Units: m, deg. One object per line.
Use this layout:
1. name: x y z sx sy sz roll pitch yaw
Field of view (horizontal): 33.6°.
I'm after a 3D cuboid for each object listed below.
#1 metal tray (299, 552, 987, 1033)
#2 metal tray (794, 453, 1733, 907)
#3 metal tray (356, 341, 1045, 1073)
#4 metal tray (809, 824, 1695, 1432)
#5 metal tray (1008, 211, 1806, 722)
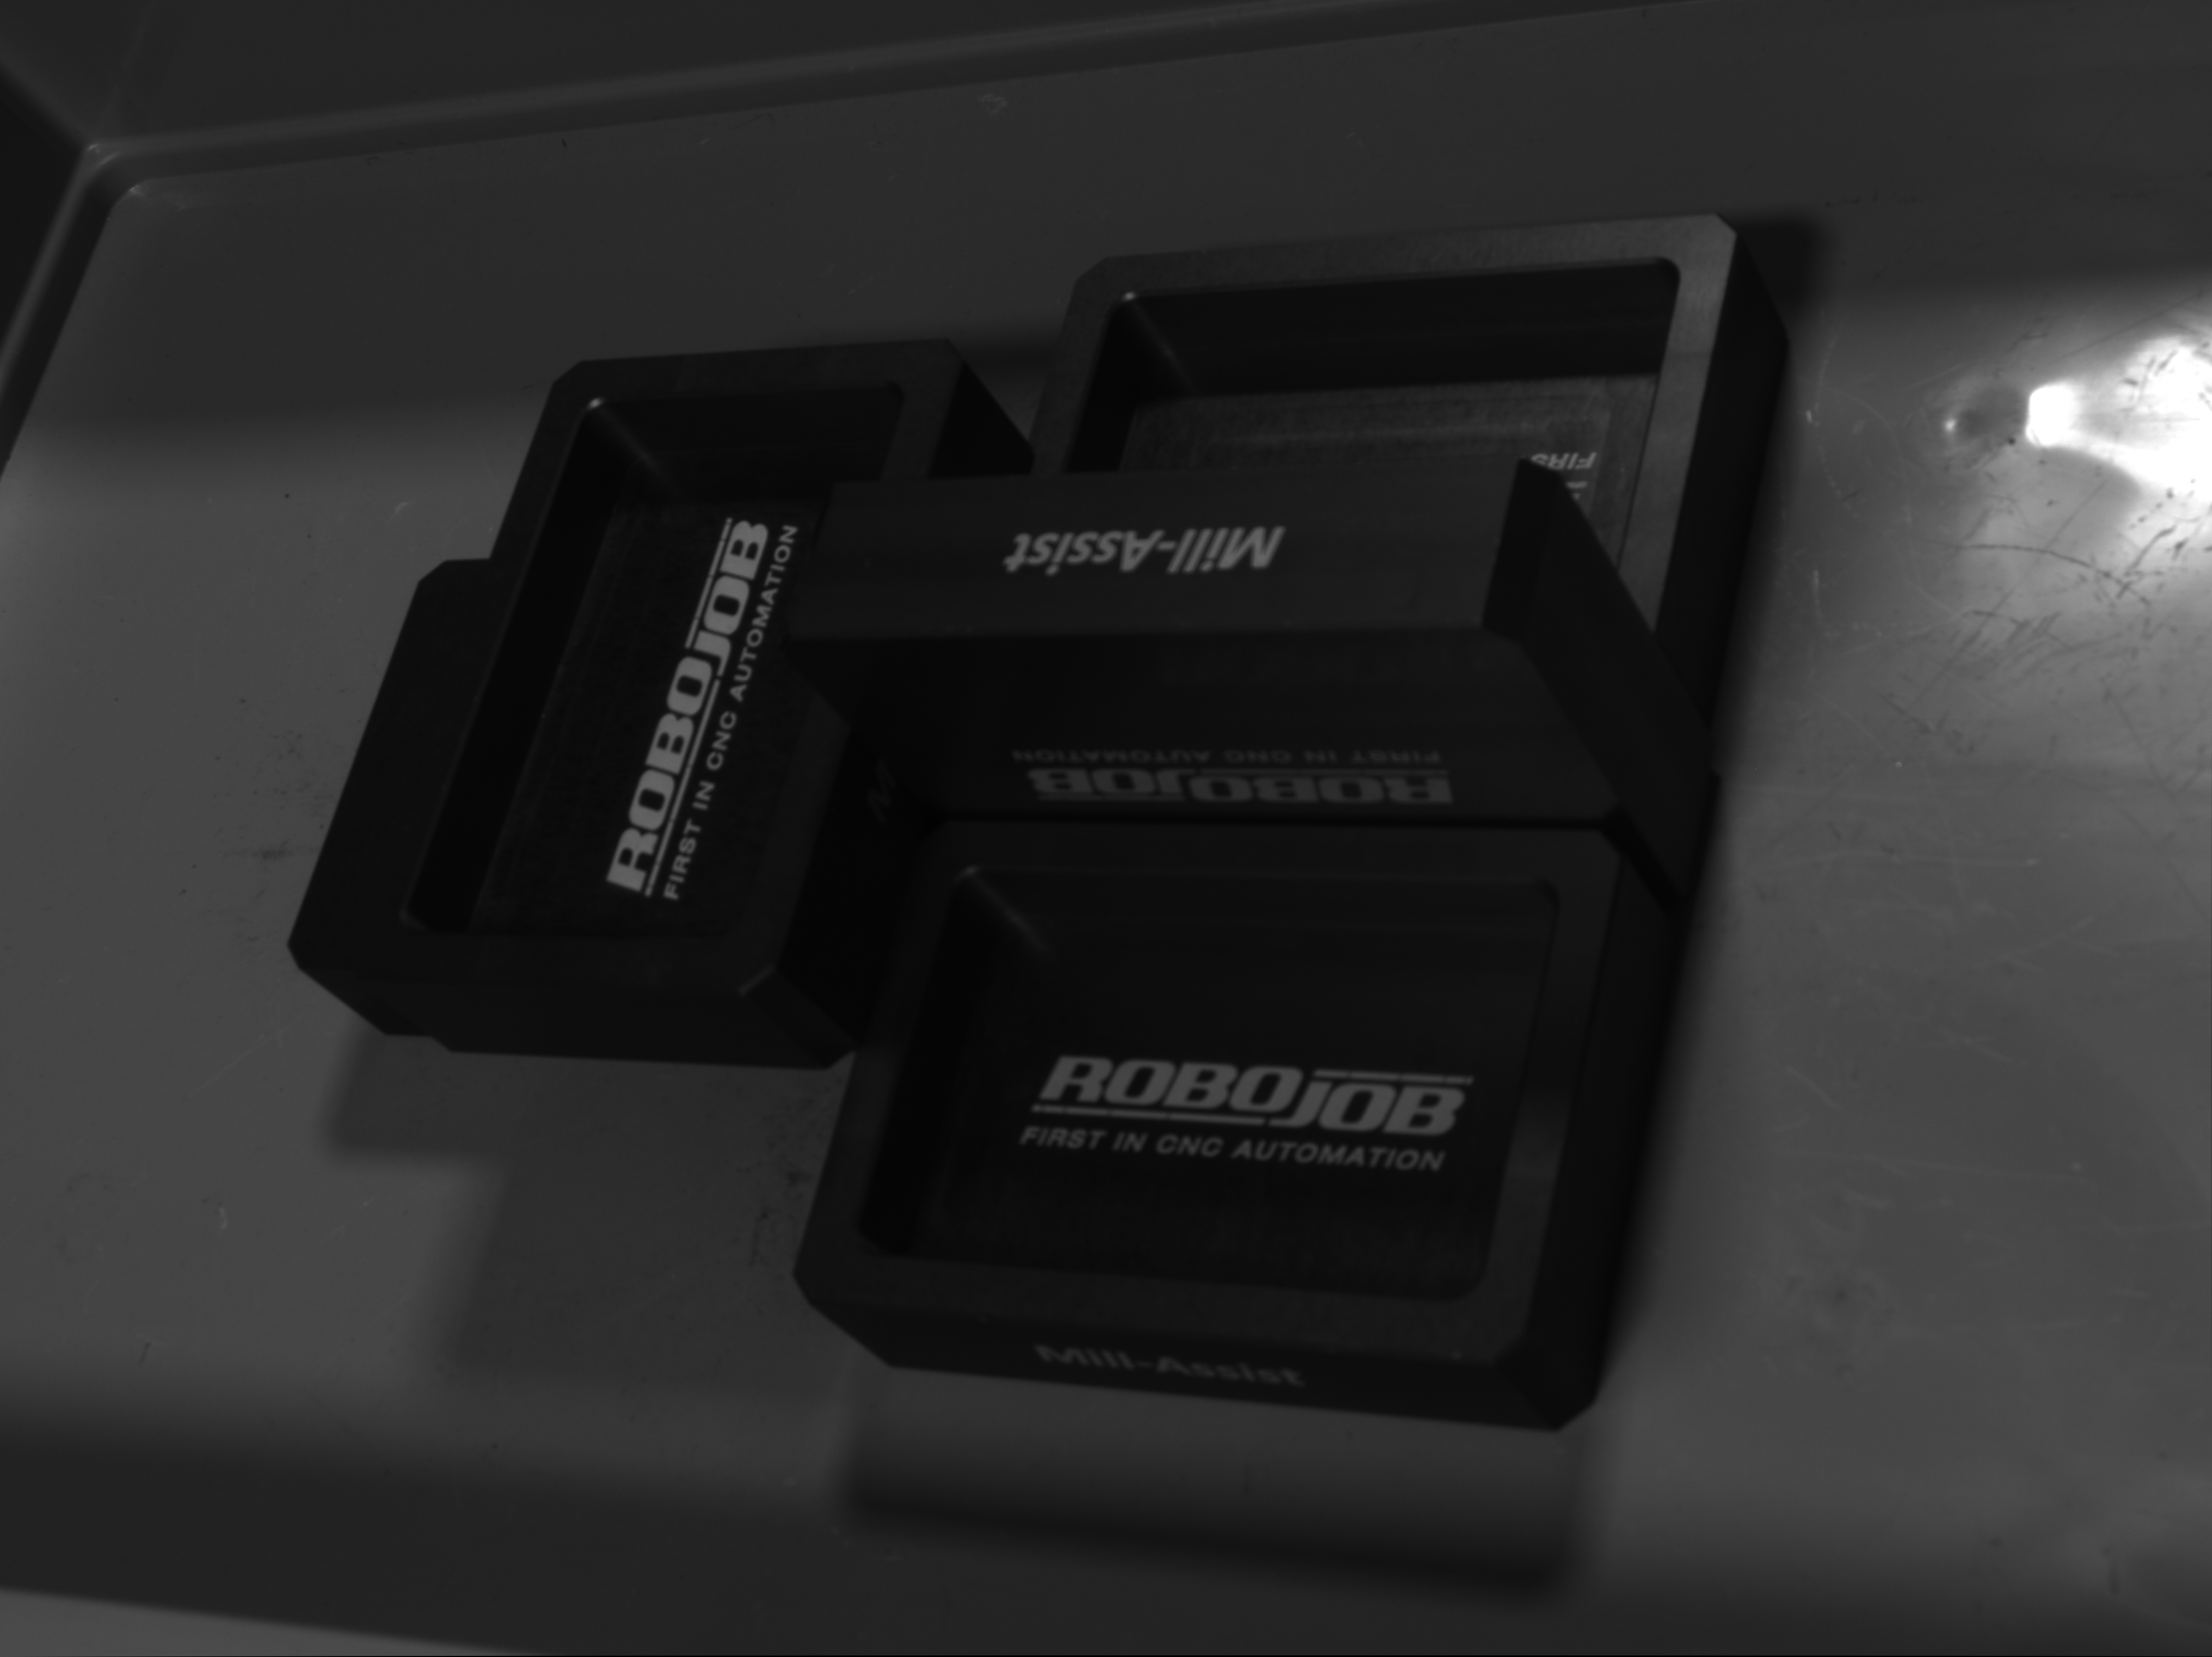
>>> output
1. metal tray: -0.080 -0.007 0.685 0.130 0.030 0.090 0 62 28
2. metal tray: 0.026 -0.022 0.599 0.130 0.090 0.030 1 62 29
3. metal tray: -0.071 -0.023 0.652 0.090 0.030 0.130 1 62 29
4. metal tray: 0.023 0.046 0.598 0.130 0.030 0.090 1 62 29
5. metal tray: 0.051 -0.061 0.650 0.130 0.030 0.090 1 62 29
